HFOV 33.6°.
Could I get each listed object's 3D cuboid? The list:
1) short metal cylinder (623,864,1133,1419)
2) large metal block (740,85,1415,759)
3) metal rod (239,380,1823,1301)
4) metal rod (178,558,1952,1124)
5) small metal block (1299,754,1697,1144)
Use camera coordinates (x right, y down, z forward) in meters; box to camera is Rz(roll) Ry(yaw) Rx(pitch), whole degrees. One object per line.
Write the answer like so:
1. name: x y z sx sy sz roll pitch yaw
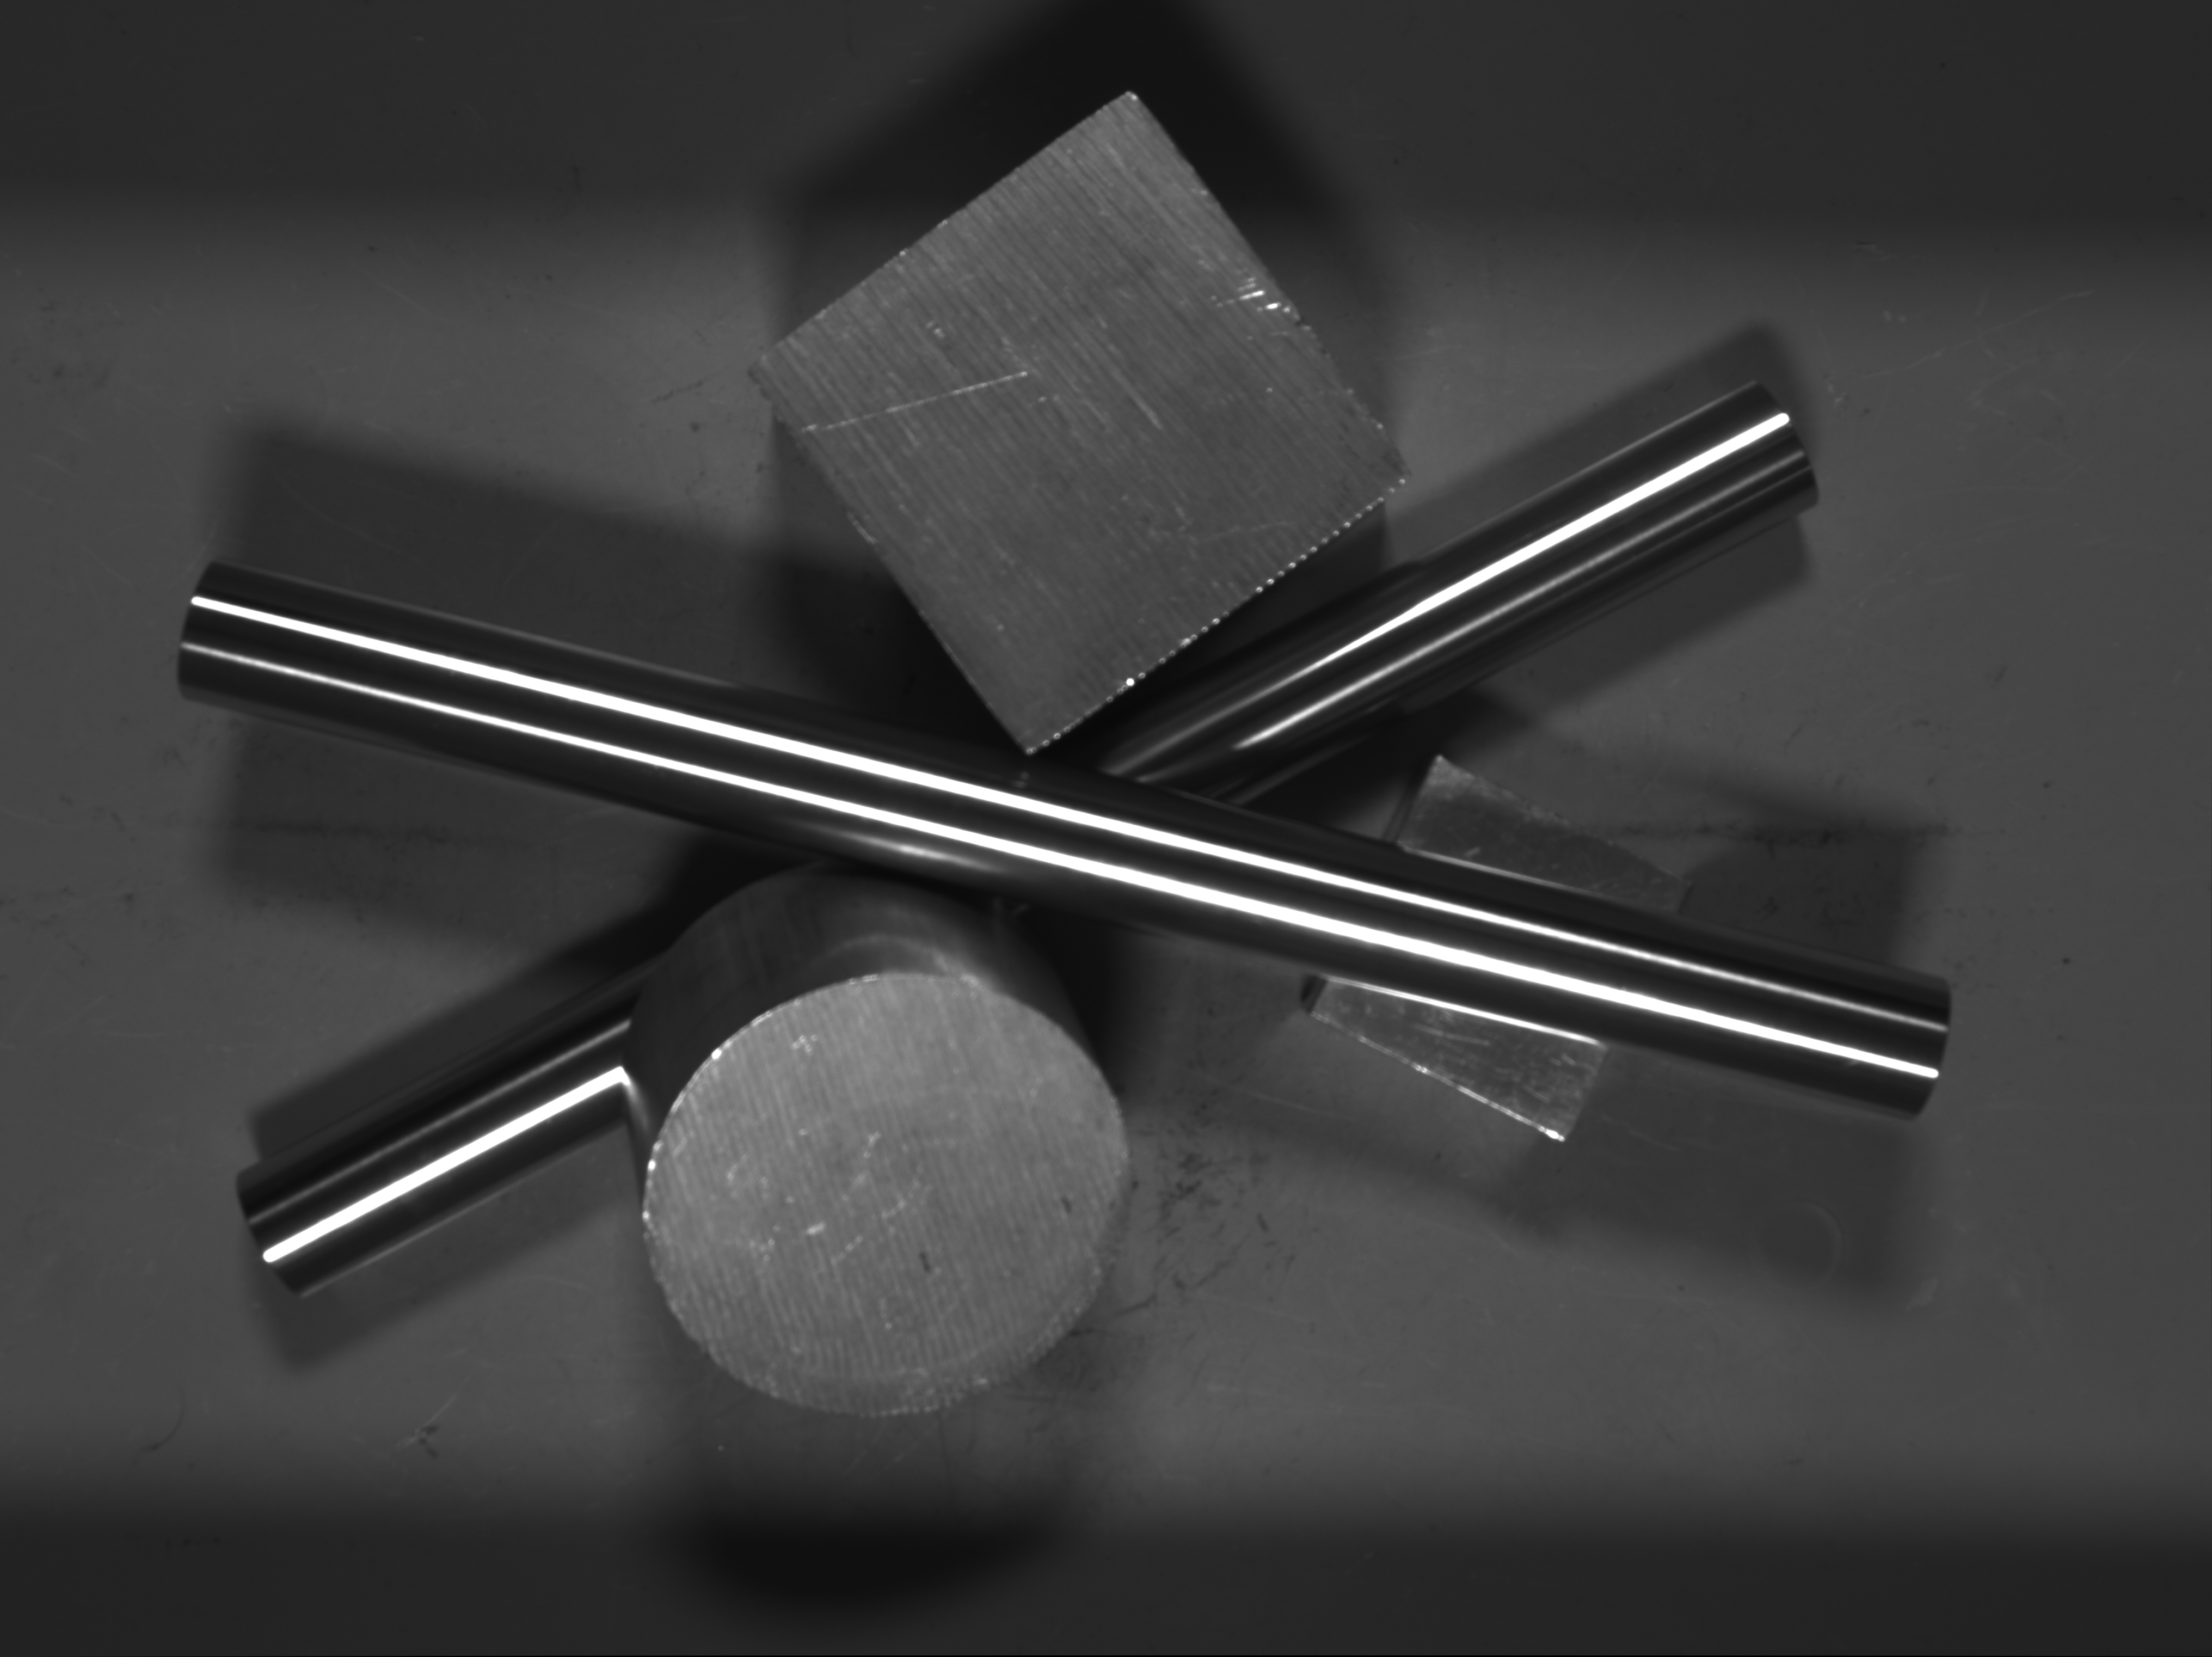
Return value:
1. short metal cylinder: -0.040 0.052 0.617 0.080 0.050 0.080 -4 112 -11
2. large metal block: -0.005 -0.067 0.631 0.080 0.050 0.080 -36 90 0
3. metal rod: -0.013 0.002 0.643 0.300 0.025 0.025 -28 90 -1
4. metal rod: -0.007 0.002 0.619 0.300 0.025 0.025 14 90 0
5. small metal block: 0.068 0.021 0.643 0.050 0.025 0.050 27 90 0
